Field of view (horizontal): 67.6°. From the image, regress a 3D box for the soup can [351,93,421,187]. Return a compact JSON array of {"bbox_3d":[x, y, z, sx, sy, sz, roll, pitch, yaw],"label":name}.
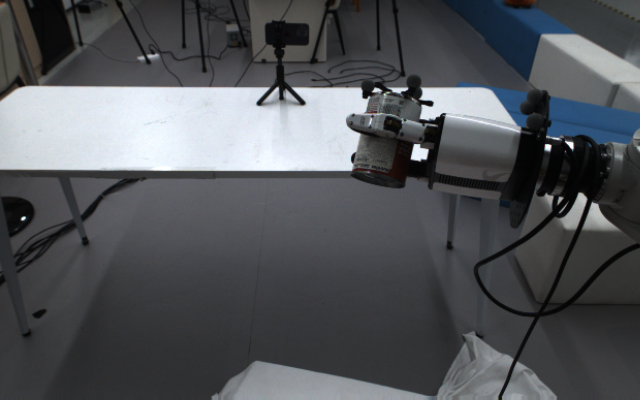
[{"bbox_3d":[0.083,-0.072,0.591,0.067,0.101,0.067,13,-6,1],"label":"soup can"}]
